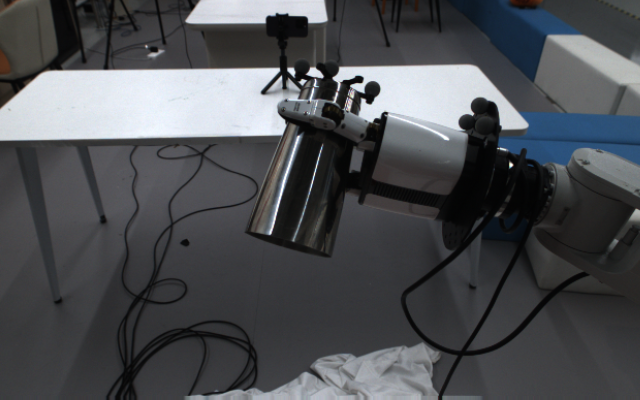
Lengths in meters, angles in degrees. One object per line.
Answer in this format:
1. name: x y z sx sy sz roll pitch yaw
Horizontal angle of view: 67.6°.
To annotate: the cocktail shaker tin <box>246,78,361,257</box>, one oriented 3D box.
1. cocktail shaker tin: -0.006 -0.037 0.505 0.093 0.093 0.170 13 79 15
